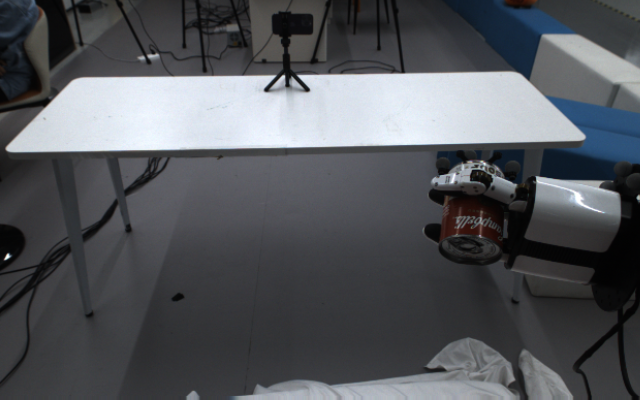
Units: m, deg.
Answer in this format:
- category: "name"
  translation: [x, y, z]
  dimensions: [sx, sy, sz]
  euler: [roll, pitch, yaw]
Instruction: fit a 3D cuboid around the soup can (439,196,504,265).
- category: "soup can"
  translation: [0.175, 0.013, 0.548]
  dimensions: [0.067, 0.067, 0.101]
  euler: [9, 58, 10]
